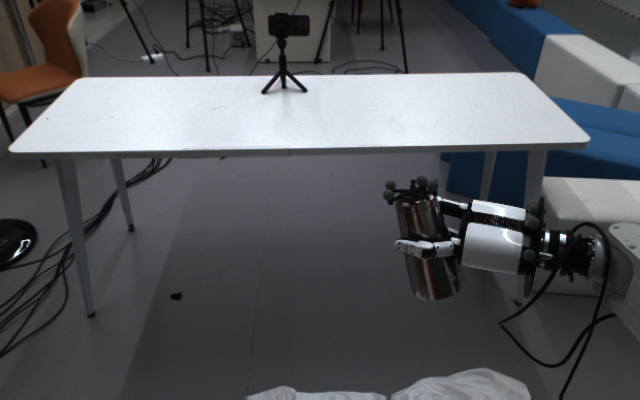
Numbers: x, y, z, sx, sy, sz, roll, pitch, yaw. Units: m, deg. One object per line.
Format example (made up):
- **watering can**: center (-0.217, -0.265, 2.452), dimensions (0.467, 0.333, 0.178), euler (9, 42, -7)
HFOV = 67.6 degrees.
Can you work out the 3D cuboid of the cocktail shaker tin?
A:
- **cocktail shaker tin**: center (0.176, 0.067, 0.799), dimensions (0.093, 0.170, 0.093), euler (-17, 20, 7)
